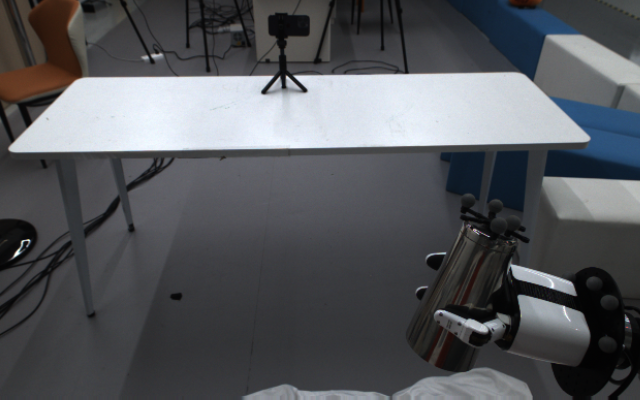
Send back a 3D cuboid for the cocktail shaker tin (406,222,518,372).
[{"bbox_3d":[0.179,0.111,0.593,0.093,0.170,0.093,14,19,-5],"label":"cocktail shaker tin"}]
